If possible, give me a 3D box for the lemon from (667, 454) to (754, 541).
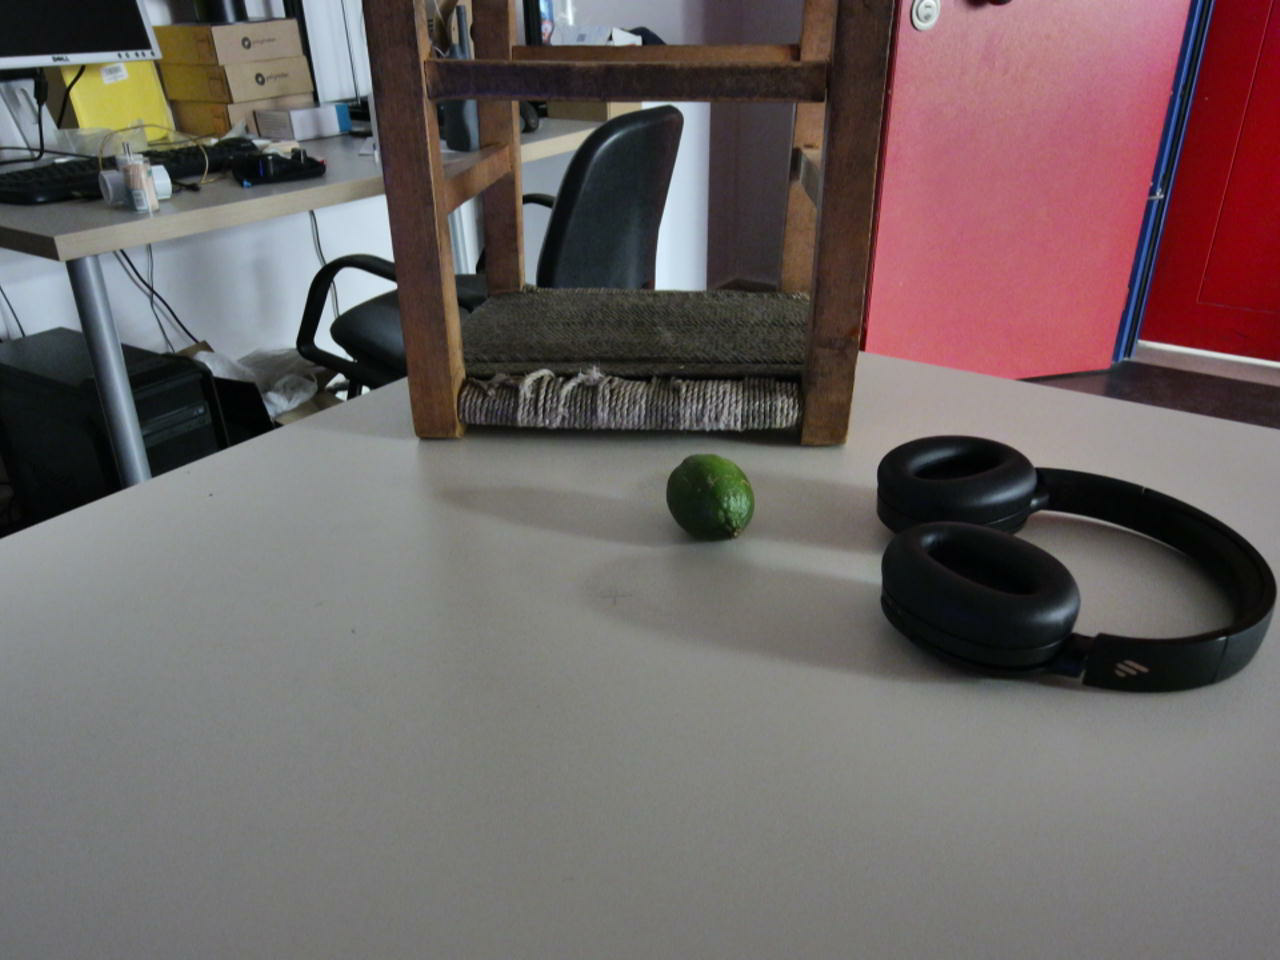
[{"bbox_3d":[0.044,0.010,0.617,0.057,0.051,0.054,16,29,29],"label":"lemon"}]
